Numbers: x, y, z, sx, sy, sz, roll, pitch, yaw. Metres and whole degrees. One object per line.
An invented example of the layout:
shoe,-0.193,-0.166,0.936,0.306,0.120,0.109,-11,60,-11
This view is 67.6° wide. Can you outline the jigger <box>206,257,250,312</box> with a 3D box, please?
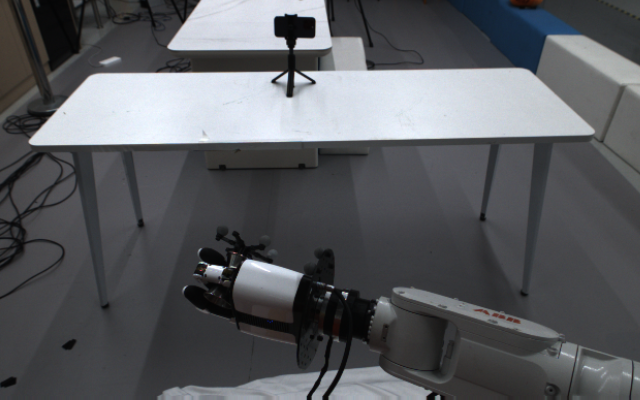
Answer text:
jigger,-0.124,0.111,0.672,0.043,0.043,0.071,13,58,16
